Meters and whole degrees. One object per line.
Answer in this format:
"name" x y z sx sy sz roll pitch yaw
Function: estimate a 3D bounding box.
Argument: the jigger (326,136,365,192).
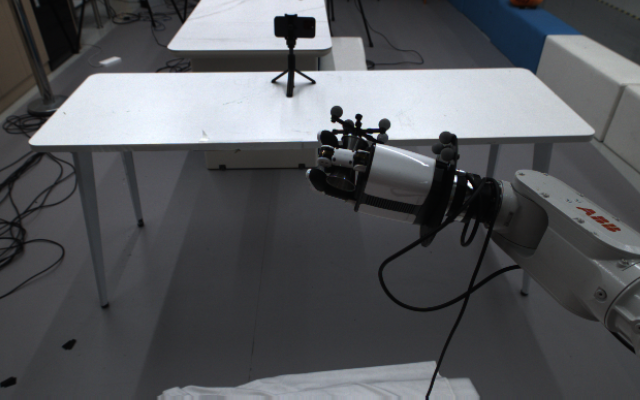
"jigger" 0.042 -0.052 0.676 0.043 0.043 0.071 12 71 14
